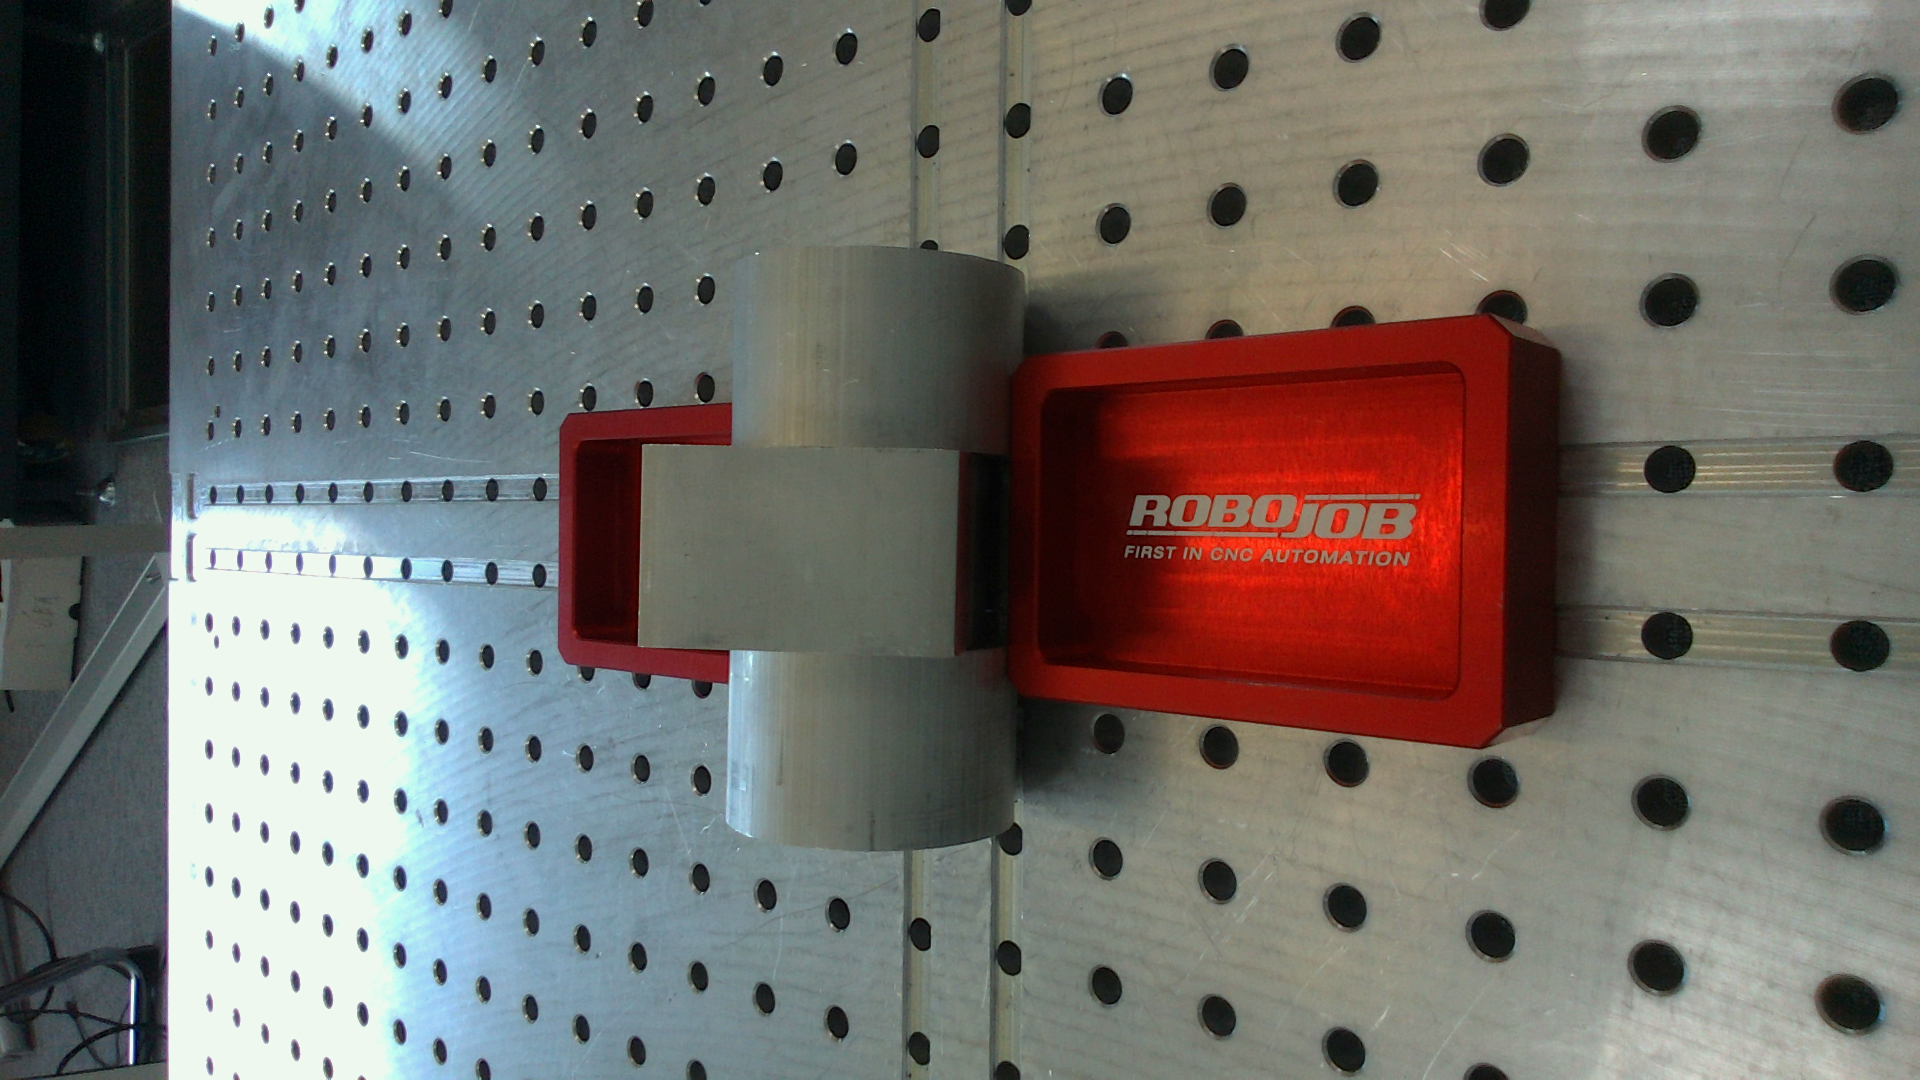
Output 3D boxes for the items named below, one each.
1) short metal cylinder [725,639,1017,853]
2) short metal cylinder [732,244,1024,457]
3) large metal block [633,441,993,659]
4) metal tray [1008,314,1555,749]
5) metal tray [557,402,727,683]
[{"bbox_3d":[-0.024,0.052,0.382,0.080,0.080,0.050,2,91,40],"label":"short metal cylinder"},{"bbox_3d":[-0.023,-0.049,0.380,0.080,0.080,0.050,2,91,40],"label":"short metal cylinder"},{"bbox_3d":[-0.035,0.002,0.372,0.080,0.080,0.050,2,91,6],"label":"large metal block"},{"bbox_3d":[0.072,-0.003,0.334,0.129,0.030,0.090,1,91,40],"label":"metal tray"},{"bbox_3d":[-0.086,0.001,0.467,0.129,0.030,0.090,1,91,40],"label":"metal tray"}]
